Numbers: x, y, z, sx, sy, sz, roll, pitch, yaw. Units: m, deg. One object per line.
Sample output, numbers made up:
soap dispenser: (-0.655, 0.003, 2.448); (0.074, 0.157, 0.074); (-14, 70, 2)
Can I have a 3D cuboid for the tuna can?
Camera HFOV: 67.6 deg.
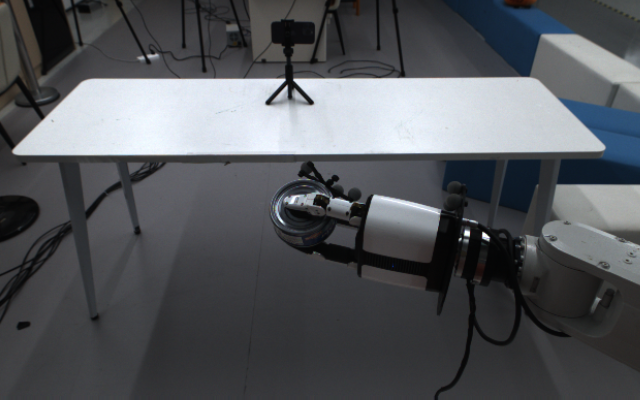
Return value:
tuna can: (-0.017, 0.022, 0.621); (0.085, 0.034, 0.085); (-4, 58, 6)
